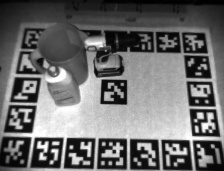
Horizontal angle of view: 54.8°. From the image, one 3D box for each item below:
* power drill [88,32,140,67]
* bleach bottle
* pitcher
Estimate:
[{"bbox_3d":[0.010,-0.126,0.756,0.185,0.187,0.057,-4,74,-7],"label":"power drill"},{"bbox_3d":[-0.169,-0.020,0.689,0.103,0.252,0.067,-8,72,-1],"label":"bleach bottle"},{"bbox_3d":[-0.158,-0.110,0.740,0.189,0.243,0.132,-26,74,-7],"label":"pitcher"}]
